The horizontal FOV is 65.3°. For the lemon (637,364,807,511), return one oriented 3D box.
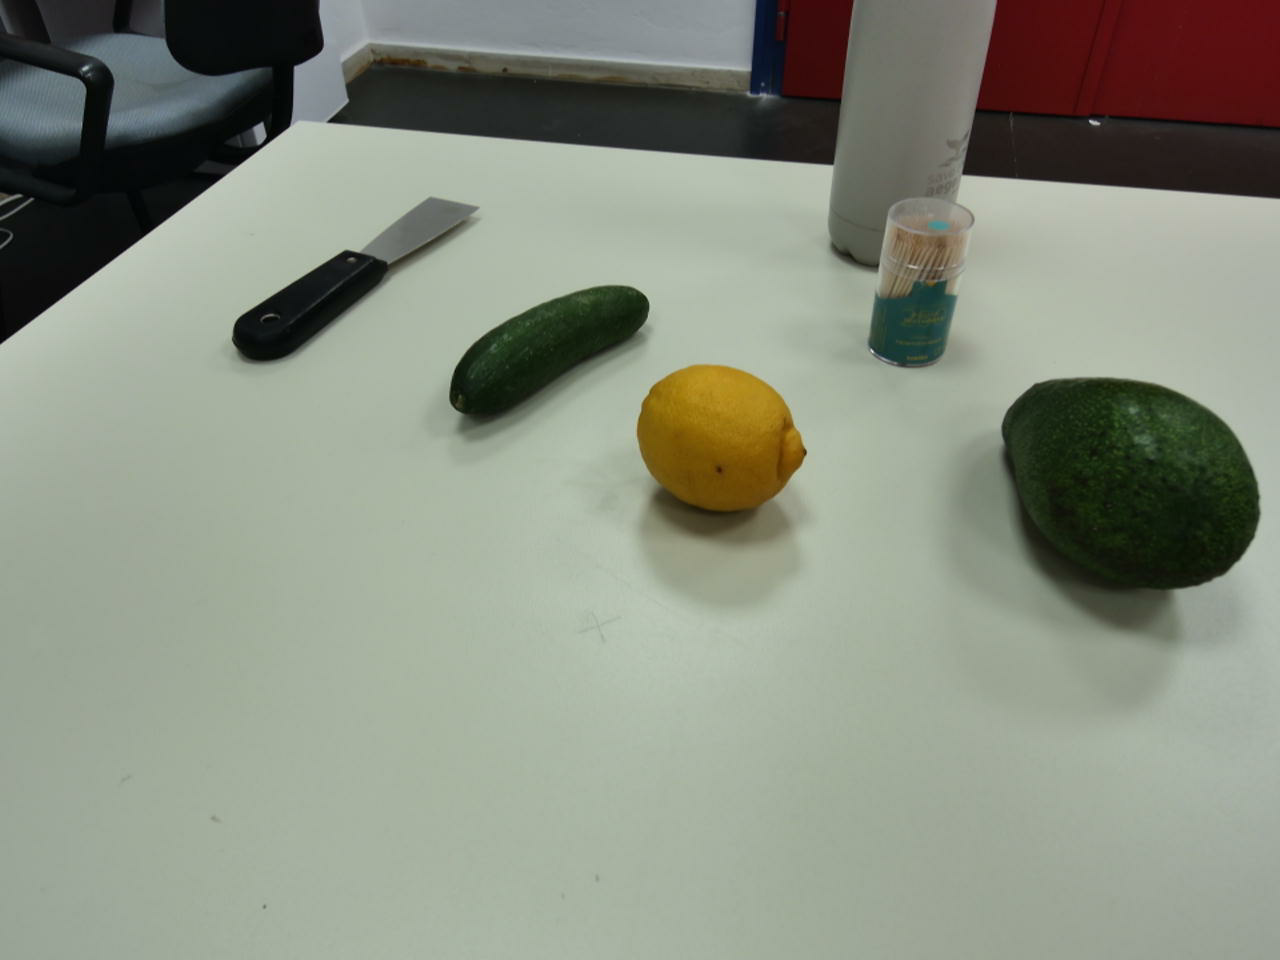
[{"bbox_3d":[0.032,-0.017,0.417,0.060,0.059,0.067,-22,43,-26],"label":"lemon"}]
